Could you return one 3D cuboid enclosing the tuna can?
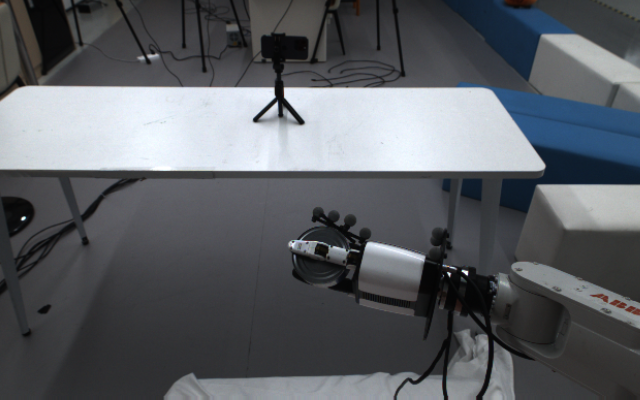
[{"bbox_3d":[0.006,0.082,0.704,0.085,0.034,0.085,-4,67,10],"label":"tuna can"}]
